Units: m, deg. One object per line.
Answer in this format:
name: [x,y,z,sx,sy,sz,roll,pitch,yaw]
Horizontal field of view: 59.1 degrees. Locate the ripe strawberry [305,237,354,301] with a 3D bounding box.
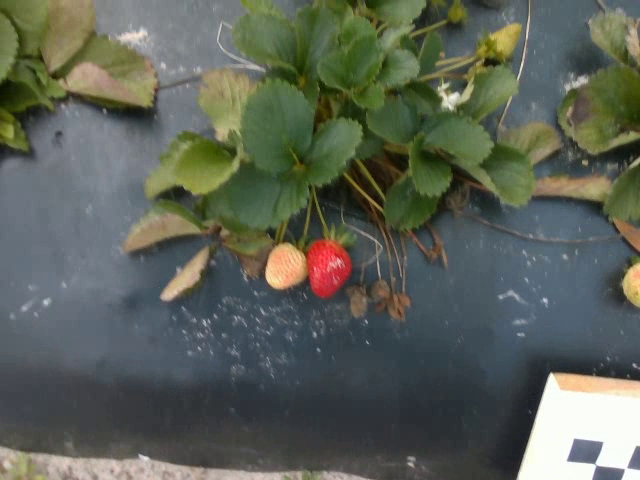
ripe strawberry: [0.004,0.019,0.361,0.034,0.042,0.033,35,-38,-12]
